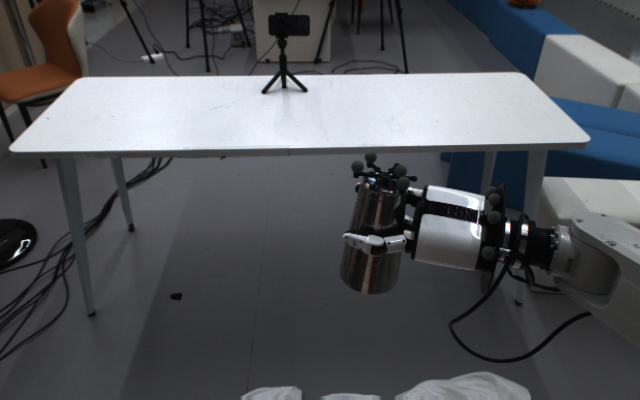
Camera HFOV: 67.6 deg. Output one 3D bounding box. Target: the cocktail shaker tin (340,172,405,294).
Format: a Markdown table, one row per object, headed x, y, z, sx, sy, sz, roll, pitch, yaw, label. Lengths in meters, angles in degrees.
| x | y | z | sx | sy | sz | roll | pitch | yaw | label |
| --- | --- | --- | --- | --- | --- | --- | --- | --- | --- |
| 0.083 | 0.044 | 0.719 | 0.093 | 0.170 | 0.093 | 4 | 32 | -2 | cocktail shaker tin |
